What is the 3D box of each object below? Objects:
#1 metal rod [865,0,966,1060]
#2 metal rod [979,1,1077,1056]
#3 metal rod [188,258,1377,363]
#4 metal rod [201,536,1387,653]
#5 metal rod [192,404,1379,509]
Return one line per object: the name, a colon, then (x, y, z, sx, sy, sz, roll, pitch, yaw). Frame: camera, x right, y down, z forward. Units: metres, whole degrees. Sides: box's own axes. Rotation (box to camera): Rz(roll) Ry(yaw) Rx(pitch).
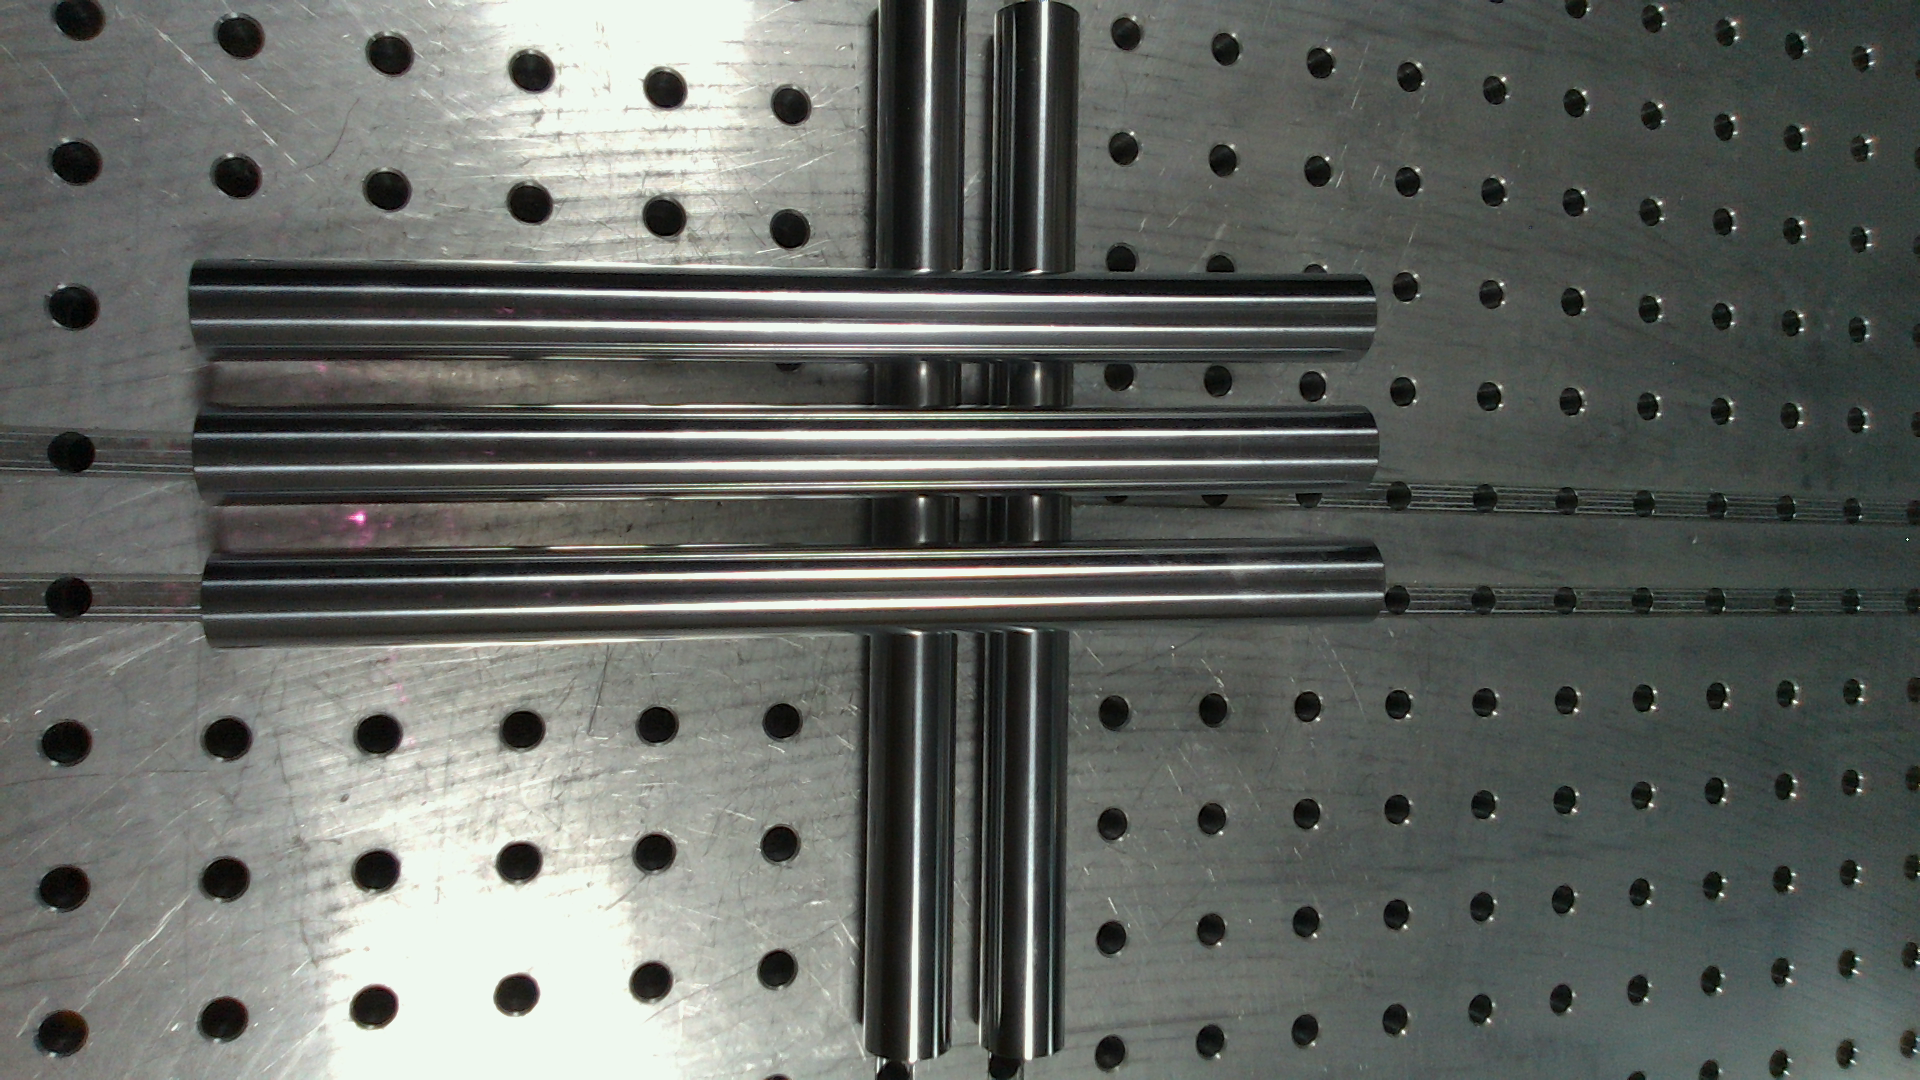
metal rod: (-0.013, -0.007, 0.392, 0.025, 0.025, 0.300, 1, 90, -20)
metal rod: (0.020, -0.003, 0.403, 0.025, 0.025, 0.300, 1, 90, -20)
metal rod: (-0.034, -0.059, 0.361, 0.300, 0.025, 0.025, -2, 91, -12)
metal rod: (-0.032, 0.013, 0.362, 0.300, 0.025, 0.025, -1, 90, -11)
metal rod: (-0.034, -0.023, 0.362, 0.300, 0.025, 0.025, -1, 91, -12)
